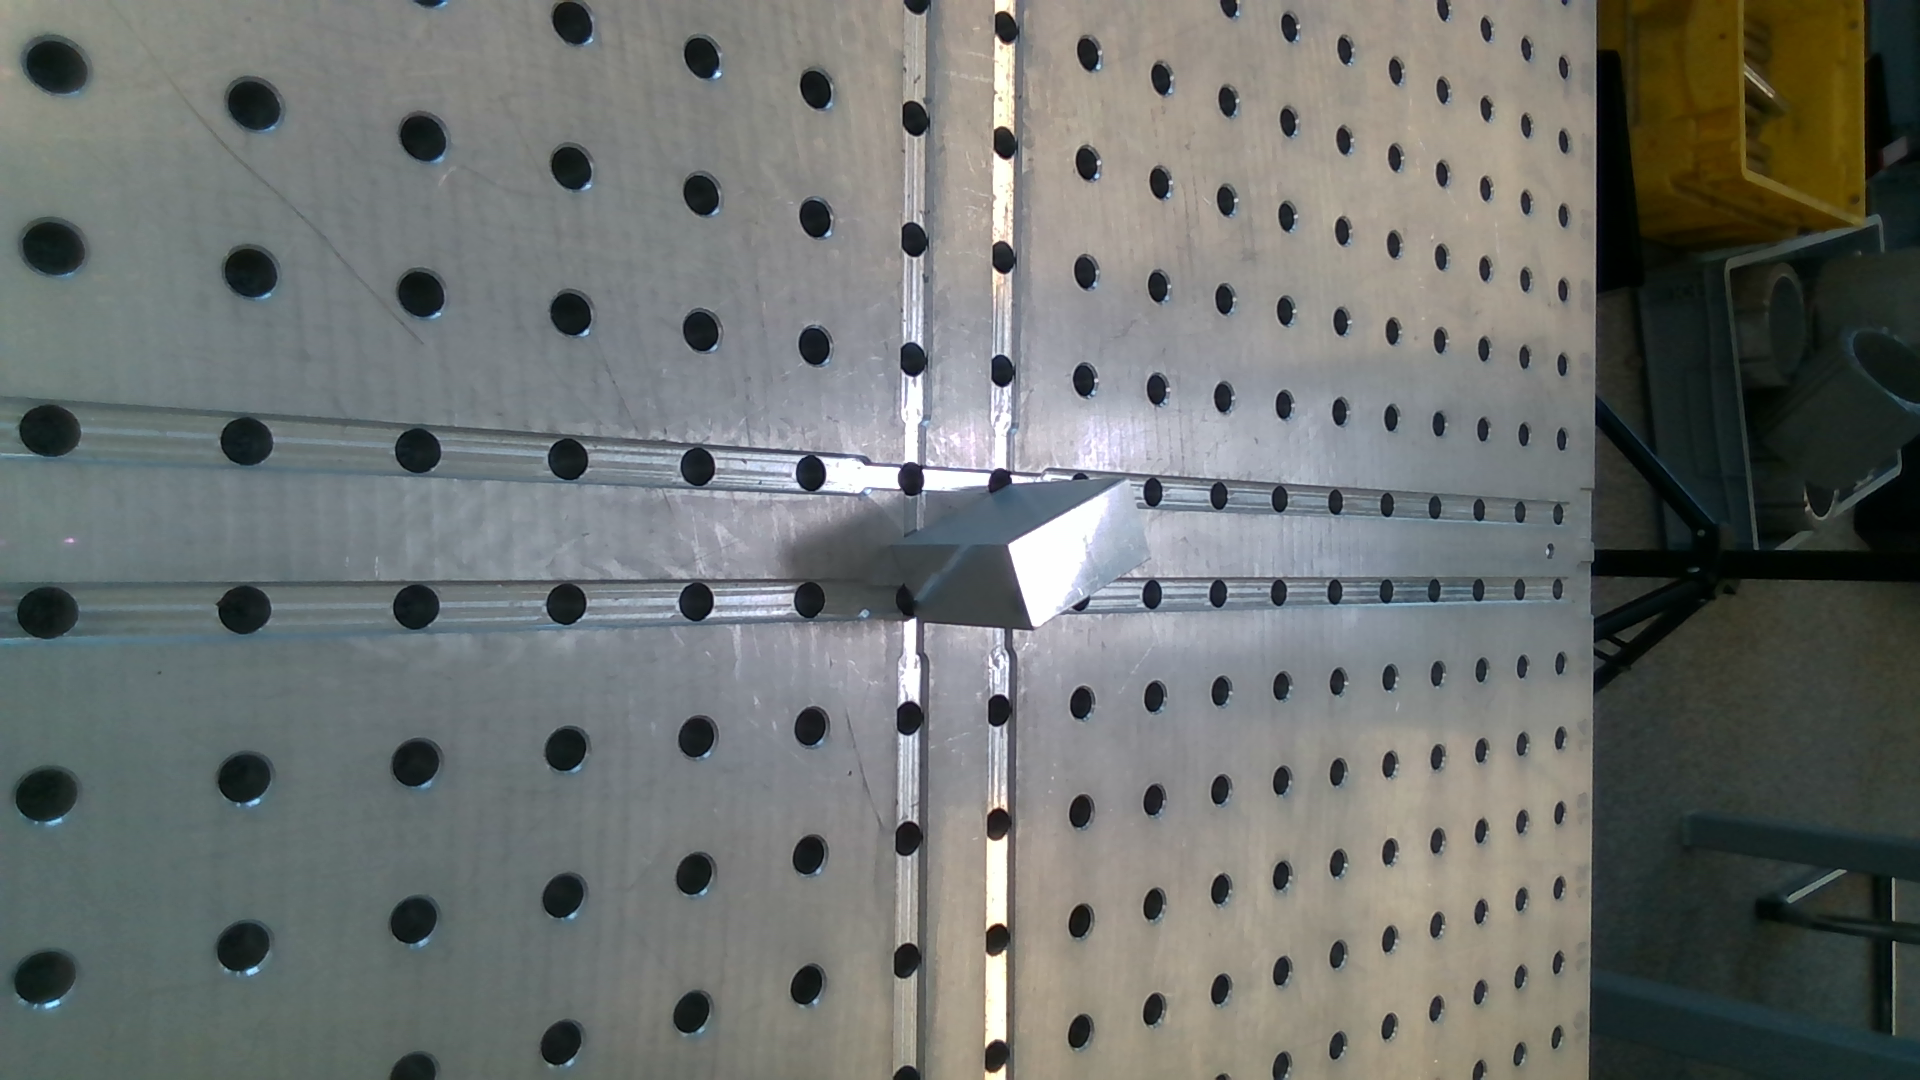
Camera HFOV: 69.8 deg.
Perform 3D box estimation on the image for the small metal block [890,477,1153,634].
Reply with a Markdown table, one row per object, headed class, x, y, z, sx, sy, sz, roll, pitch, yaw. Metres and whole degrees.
| class | x | y | z | sx | sy | sz | roll | pitch | yaw |
| --- | --- | --- | --- | --- | --- | --- | --- | --- | --- |
| small metal block | 0.017 | 0.004 | 0.392 | 0.050 | 0.050 | 0.025 | -28 | 108 | -36 |
